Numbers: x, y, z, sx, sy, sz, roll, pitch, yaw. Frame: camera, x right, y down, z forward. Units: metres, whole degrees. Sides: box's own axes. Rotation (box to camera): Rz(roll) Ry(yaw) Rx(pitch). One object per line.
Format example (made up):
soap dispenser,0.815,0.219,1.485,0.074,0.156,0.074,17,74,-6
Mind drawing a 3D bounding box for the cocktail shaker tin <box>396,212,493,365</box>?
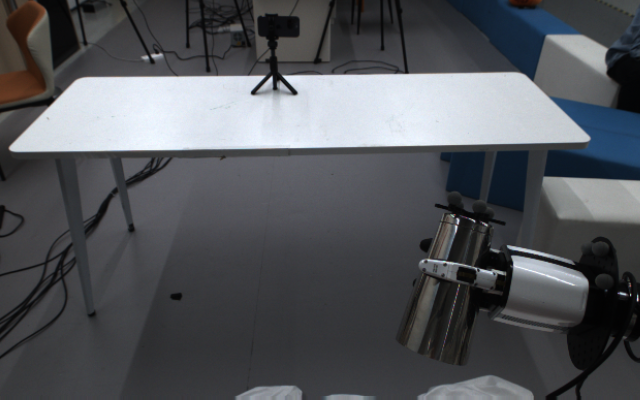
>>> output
cocktail shaker tin,0.166,0.107,0.611,0.093,0.170,0.093,16,-2,1
